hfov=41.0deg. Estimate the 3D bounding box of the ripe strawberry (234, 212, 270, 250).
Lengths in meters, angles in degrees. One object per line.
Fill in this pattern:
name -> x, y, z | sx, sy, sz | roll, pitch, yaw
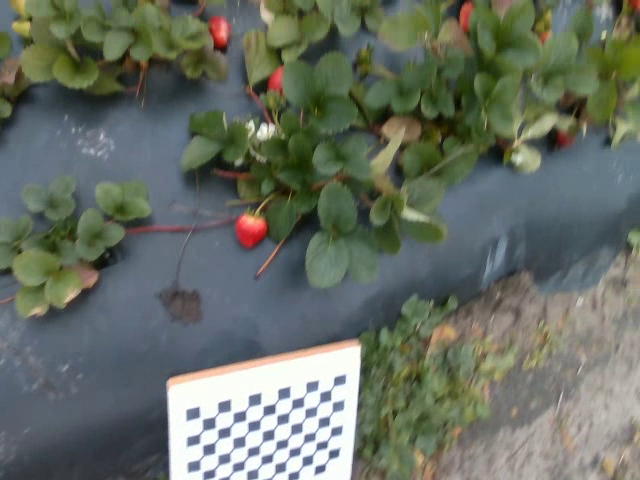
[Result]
ripe strawberry -> -0.117, -0.013, 1.438 | 0.061, 0.065, 0.049 | 1, 17, -32
